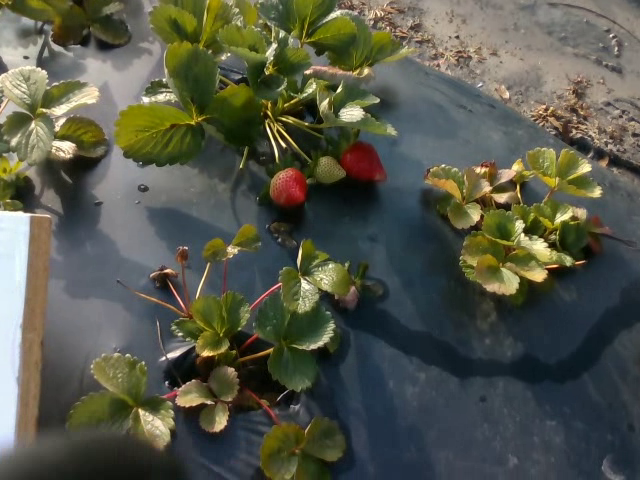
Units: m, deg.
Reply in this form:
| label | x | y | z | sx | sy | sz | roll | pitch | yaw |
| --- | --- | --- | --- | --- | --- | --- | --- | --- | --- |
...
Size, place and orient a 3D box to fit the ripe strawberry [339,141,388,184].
| label | x | y | z | sx | sy | sz | roll | pitch | yaw |
| --- | --- | --- | --- | --- | --- | --- | --- | --- | --- |
| ripe strawberry | 0.051 | -0.083 | 0.679 | 0.064 | 0.048 | 0.050 | 47 | 11 | 15 |
